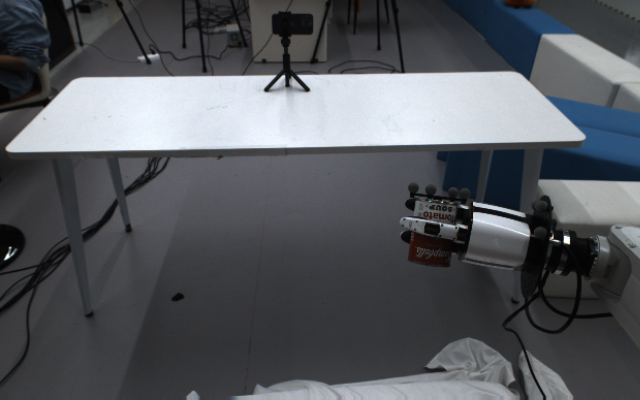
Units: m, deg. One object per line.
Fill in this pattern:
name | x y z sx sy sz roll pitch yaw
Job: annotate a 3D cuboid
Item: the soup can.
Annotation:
soup can | 0.180 0.050 0.769 0.067 0.101 0.067 7 3 0
